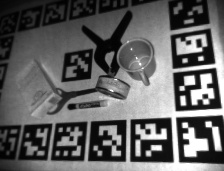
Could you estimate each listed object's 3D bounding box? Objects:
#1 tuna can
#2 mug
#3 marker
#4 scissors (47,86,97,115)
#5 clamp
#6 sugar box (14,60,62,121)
[{"bbox_3d":[0.004,0.009,0.554,0.085,0.087,0.034,11,77,24],"label":"tuna can"},{"bbox_3d":[0.062,-0.046,0.556,0.093,0.082,0.116,-32,61,8],"label":"mug"},{"bbox_3d":[-0.080,0.062,0.605,0.120,0.020,0.019,-10,70,18],"label":"marker"},{"bbox_3d":[-0.123,0.027,0.630,0.201,0.016,0.087,-16,64,13],"label":"scissors"},{"bbox_3d":[-0.011,-0.114,0.639,0.164,0.037,0.202,-16,69,15],"label":"clamp"},{"bbox_3d":[-0.228,0.012,0.657,0.093,0.046,0.174,-40,57,4],"label":"sugar box"}]
